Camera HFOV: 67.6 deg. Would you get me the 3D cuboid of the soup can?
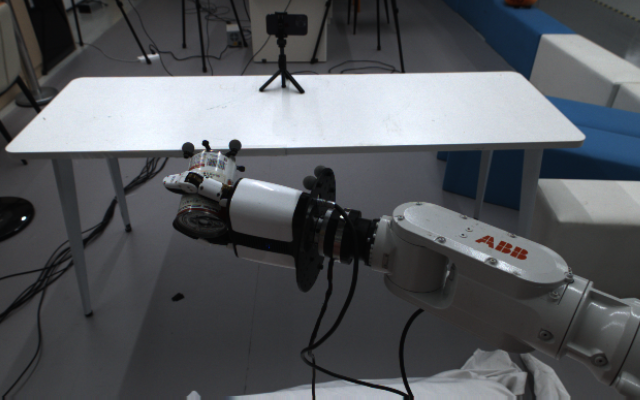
[{"bbox_3d":[-0.152,-0.008,0.654,0.067,0.067,0.101,3,56,1],"label":"soup can"}]
